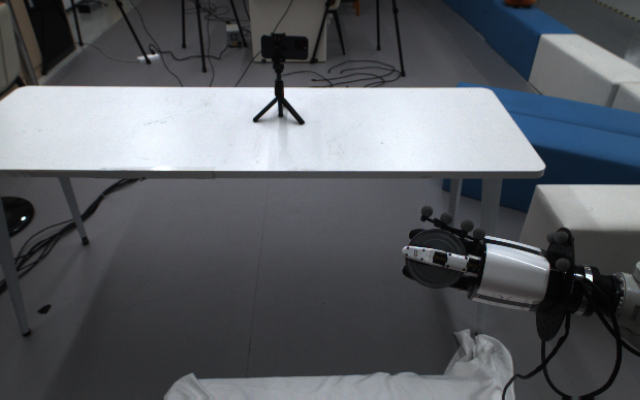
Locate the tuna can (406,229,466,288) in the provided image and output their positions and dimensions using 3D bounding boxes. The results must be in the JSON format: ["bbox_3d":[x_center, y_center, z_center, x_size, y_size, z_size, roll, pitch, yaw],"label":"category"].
[{"bbox_3d":[0.171,0.083,0.701,0.085,0.085,0.034,14,-6,16],"label":"tuna can"}]
